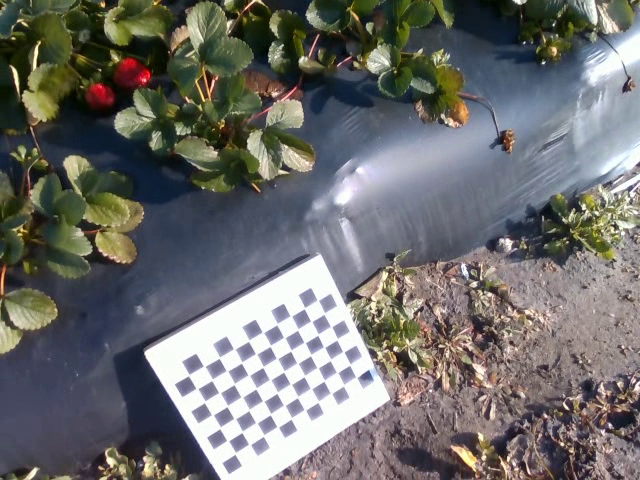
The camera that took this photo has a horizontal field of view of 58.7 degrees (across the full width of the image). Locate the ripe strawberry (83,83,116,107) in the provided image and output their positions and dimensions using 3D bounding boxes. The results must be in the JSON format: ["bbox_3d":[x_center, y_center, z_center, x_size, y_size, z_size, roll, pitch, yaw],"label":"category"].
[{"bbox_3d":[-0.294,-0.194,0.783,0.051,0.043,0.036,22,5,28],"label":"ripe strawberry"}]

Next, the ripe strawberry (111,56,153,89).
[{"bbox_3d":[-0.254,-0.229,0.799,0.057,0.052,0.046,28,1,31],"label":"ripe strawberry"}]
